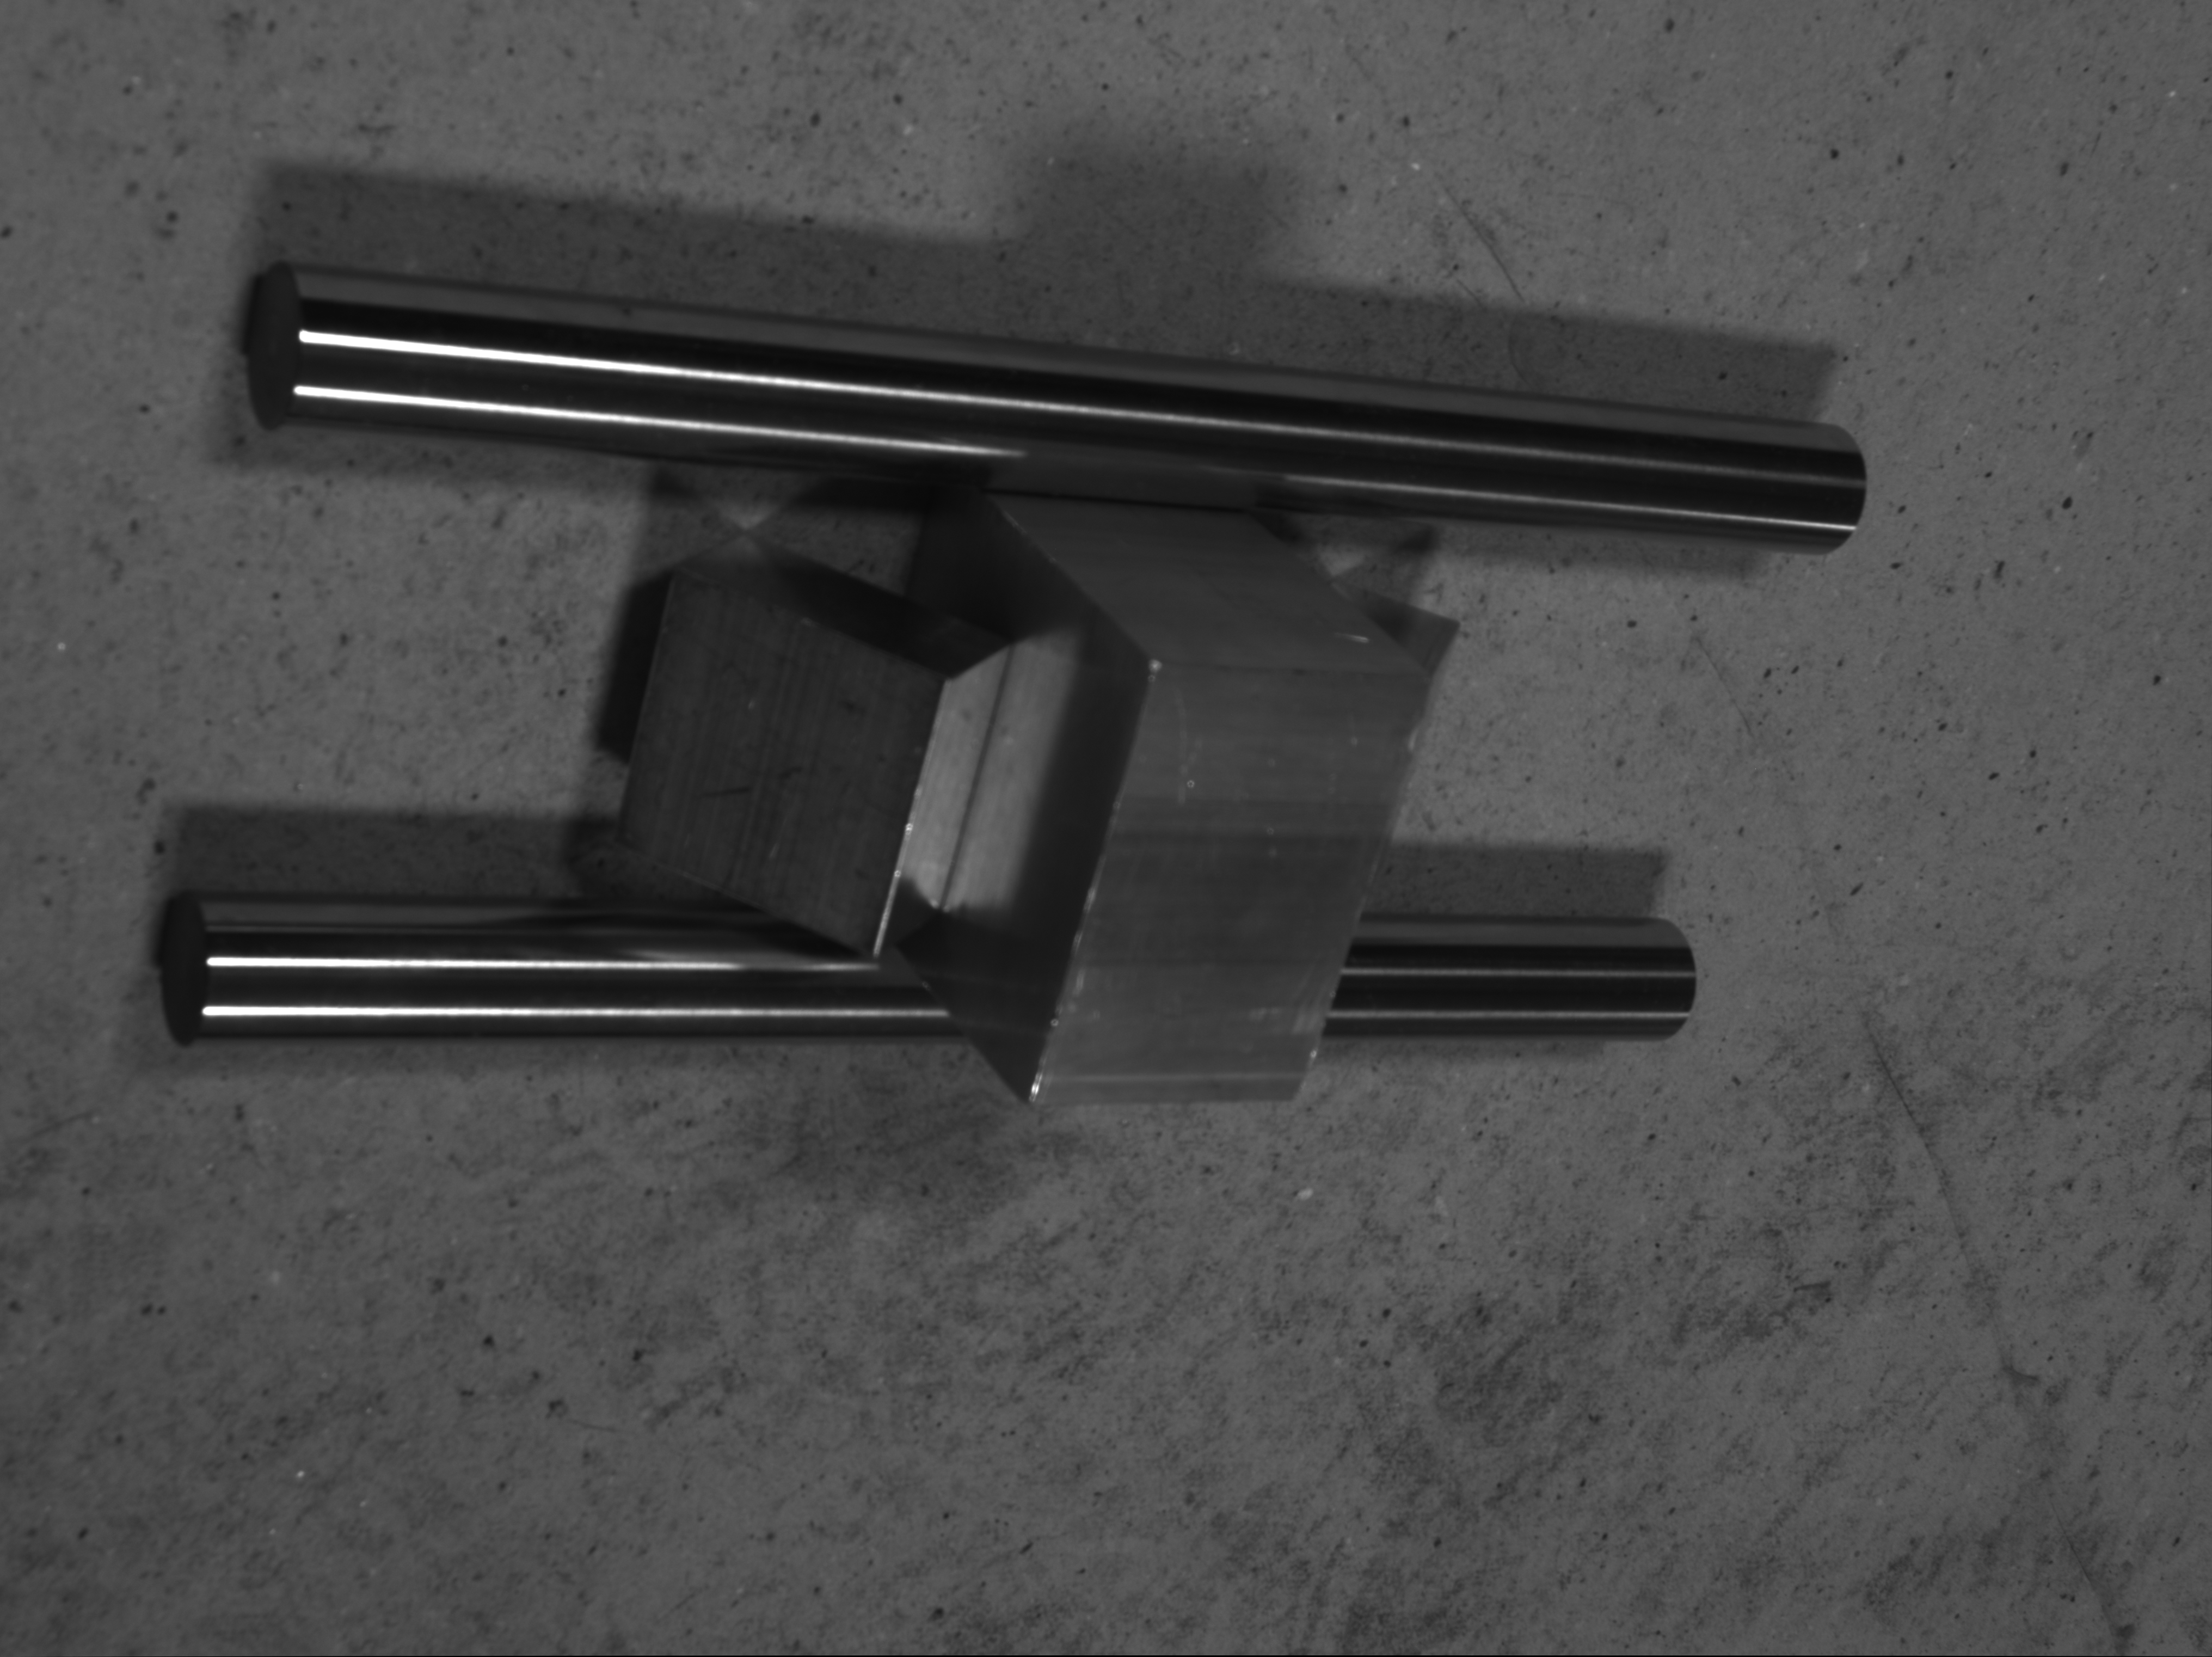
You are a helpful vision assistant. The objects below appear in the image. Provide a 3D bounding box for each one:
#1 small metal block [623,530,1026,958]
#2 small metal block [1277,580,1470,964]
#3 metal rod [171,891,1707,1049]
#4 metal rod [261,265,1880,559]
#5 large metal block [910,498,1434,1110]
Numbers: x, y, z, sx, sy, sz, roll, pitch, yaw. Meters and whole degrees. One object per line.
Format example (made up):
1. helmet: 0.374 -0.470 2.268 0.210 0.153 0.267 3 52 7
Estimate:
1. small metal block: -0.046 -0.014 0.597 0.025 0.050 0.050 -37 147 -61
2. small metal block: 0.042 -0.011 0.651 0.025 0.050 0.050 19 113 8
3. metal rod: -0.016 0.027 0.658 0.301 0.025 0.025 2 117 -31
4. metal rod: 0.009 -0.067 0.615 0.301 0.025 0.025 2 117 -31
5. large metal block: 0.003 -0.009 0.614 0.050 0.080 0.080 1 118 -31
